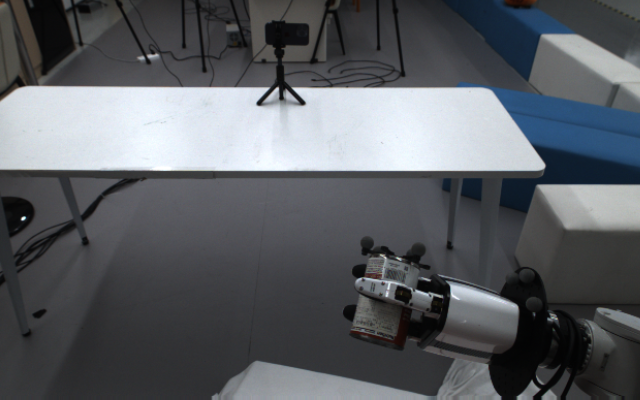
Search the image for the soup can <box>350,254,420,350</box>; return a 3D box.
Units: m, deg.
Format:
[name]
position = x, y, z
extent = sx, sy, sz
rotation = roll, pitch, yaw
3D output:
[soup can]
position = 0.083, 0.124, 0.592
extent = 0.067, 0.067, 0.101
rotation = 11, 72, 13
